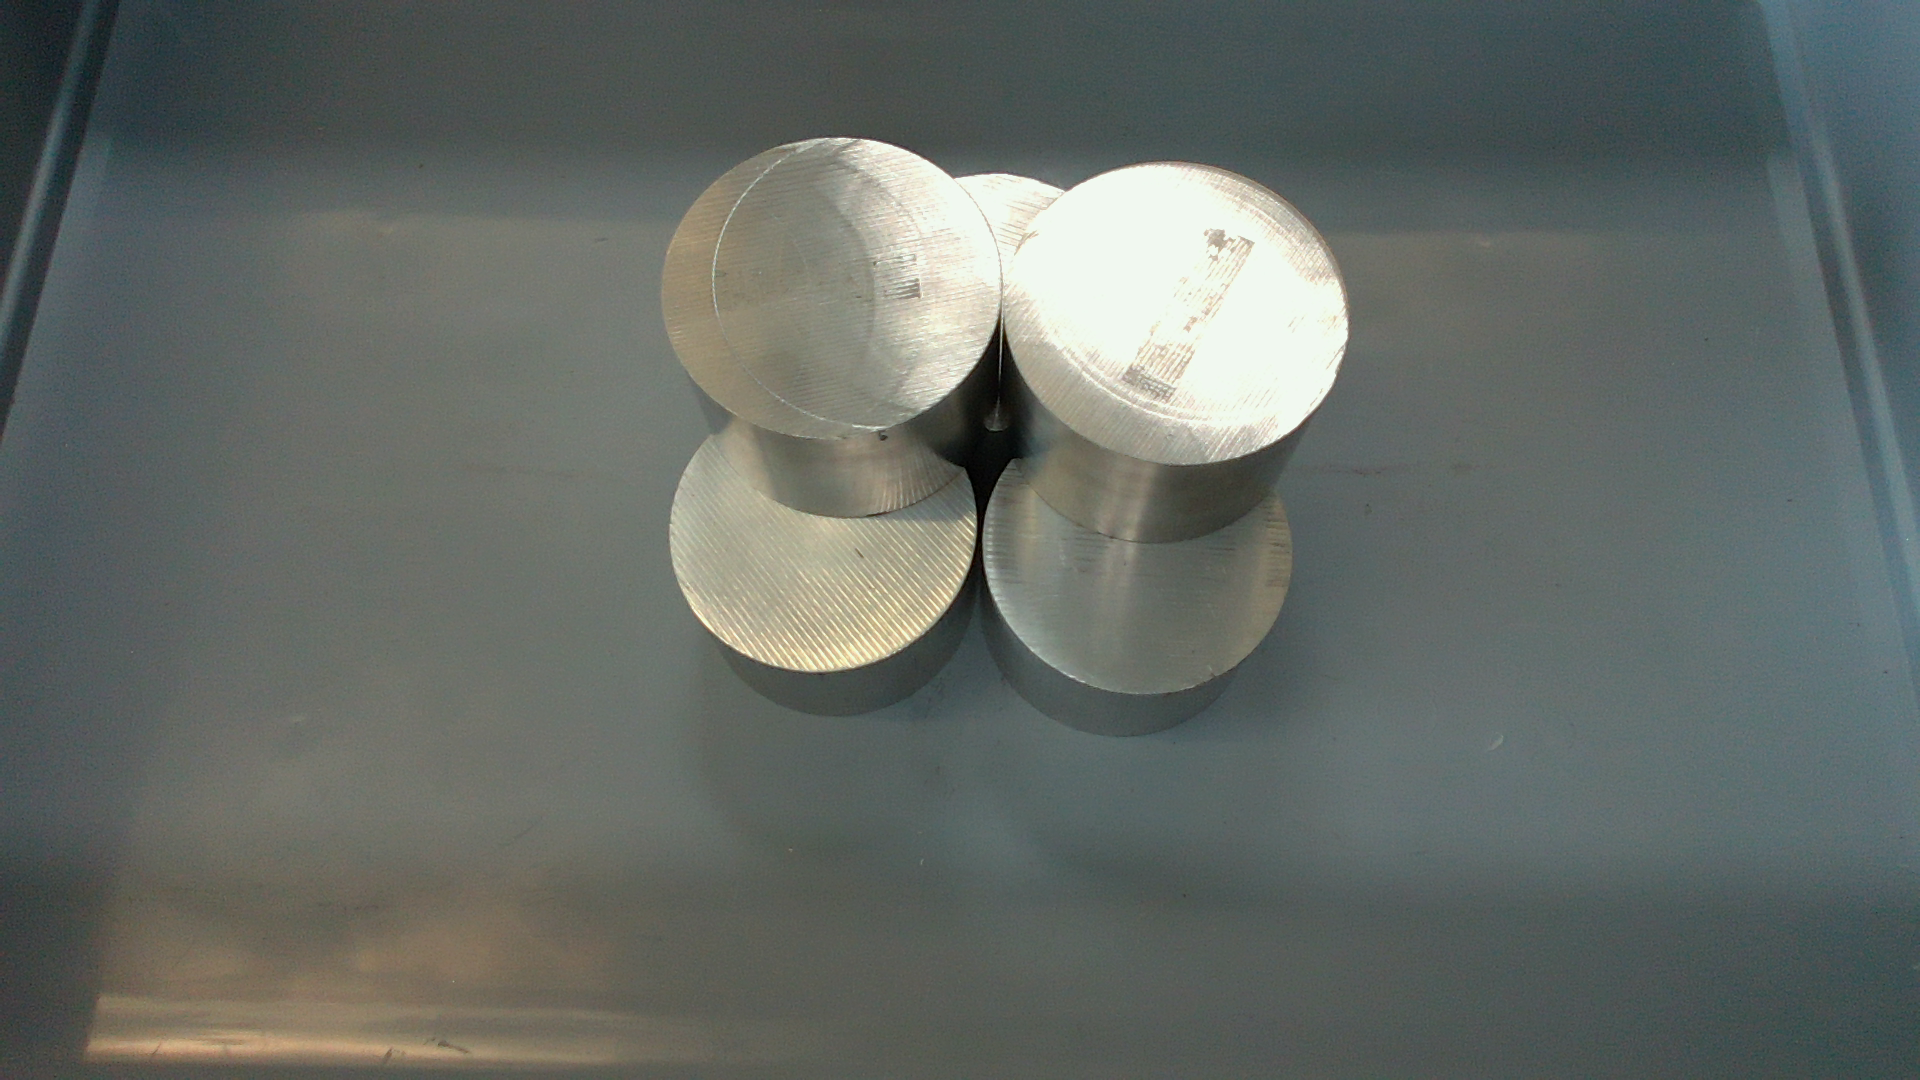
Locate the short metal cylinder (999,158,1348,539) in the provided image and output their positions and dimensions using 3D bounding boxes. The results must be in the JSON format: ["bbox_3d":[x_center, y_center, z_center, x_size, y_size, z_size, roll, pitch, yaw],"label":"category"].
[{"bbox_3d":[0.050,-0.047,0.343,0.080,0.050,0.080,0,70,0],"label":"short metal cylinder"}]

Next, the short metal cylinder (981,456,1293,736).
[{"bbox_3d":[0.045,0.009,0.377,0.080,0.050,0.080,0,70,0],"label":"short metal cylinder"}]

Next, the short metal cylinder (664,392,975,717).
[{"bbox_3d":[-0.036,0.004,0.378,0.080,0.050,0.080,0,70,0],"label":"short metal cylinder"}]

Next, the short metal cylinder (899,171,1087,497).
[{"bbox_3d":[0.009,-0.059,0.402,0.080,0.050,0.080,0,70,0],"label":"short metal cylinder"}]

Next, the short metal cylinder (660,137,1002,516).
[{"bbox_3d":[-0.030,-0.052,0.346,0.080,0.050,0.080,0,70,0],"label":"short metal cylinder"}]
